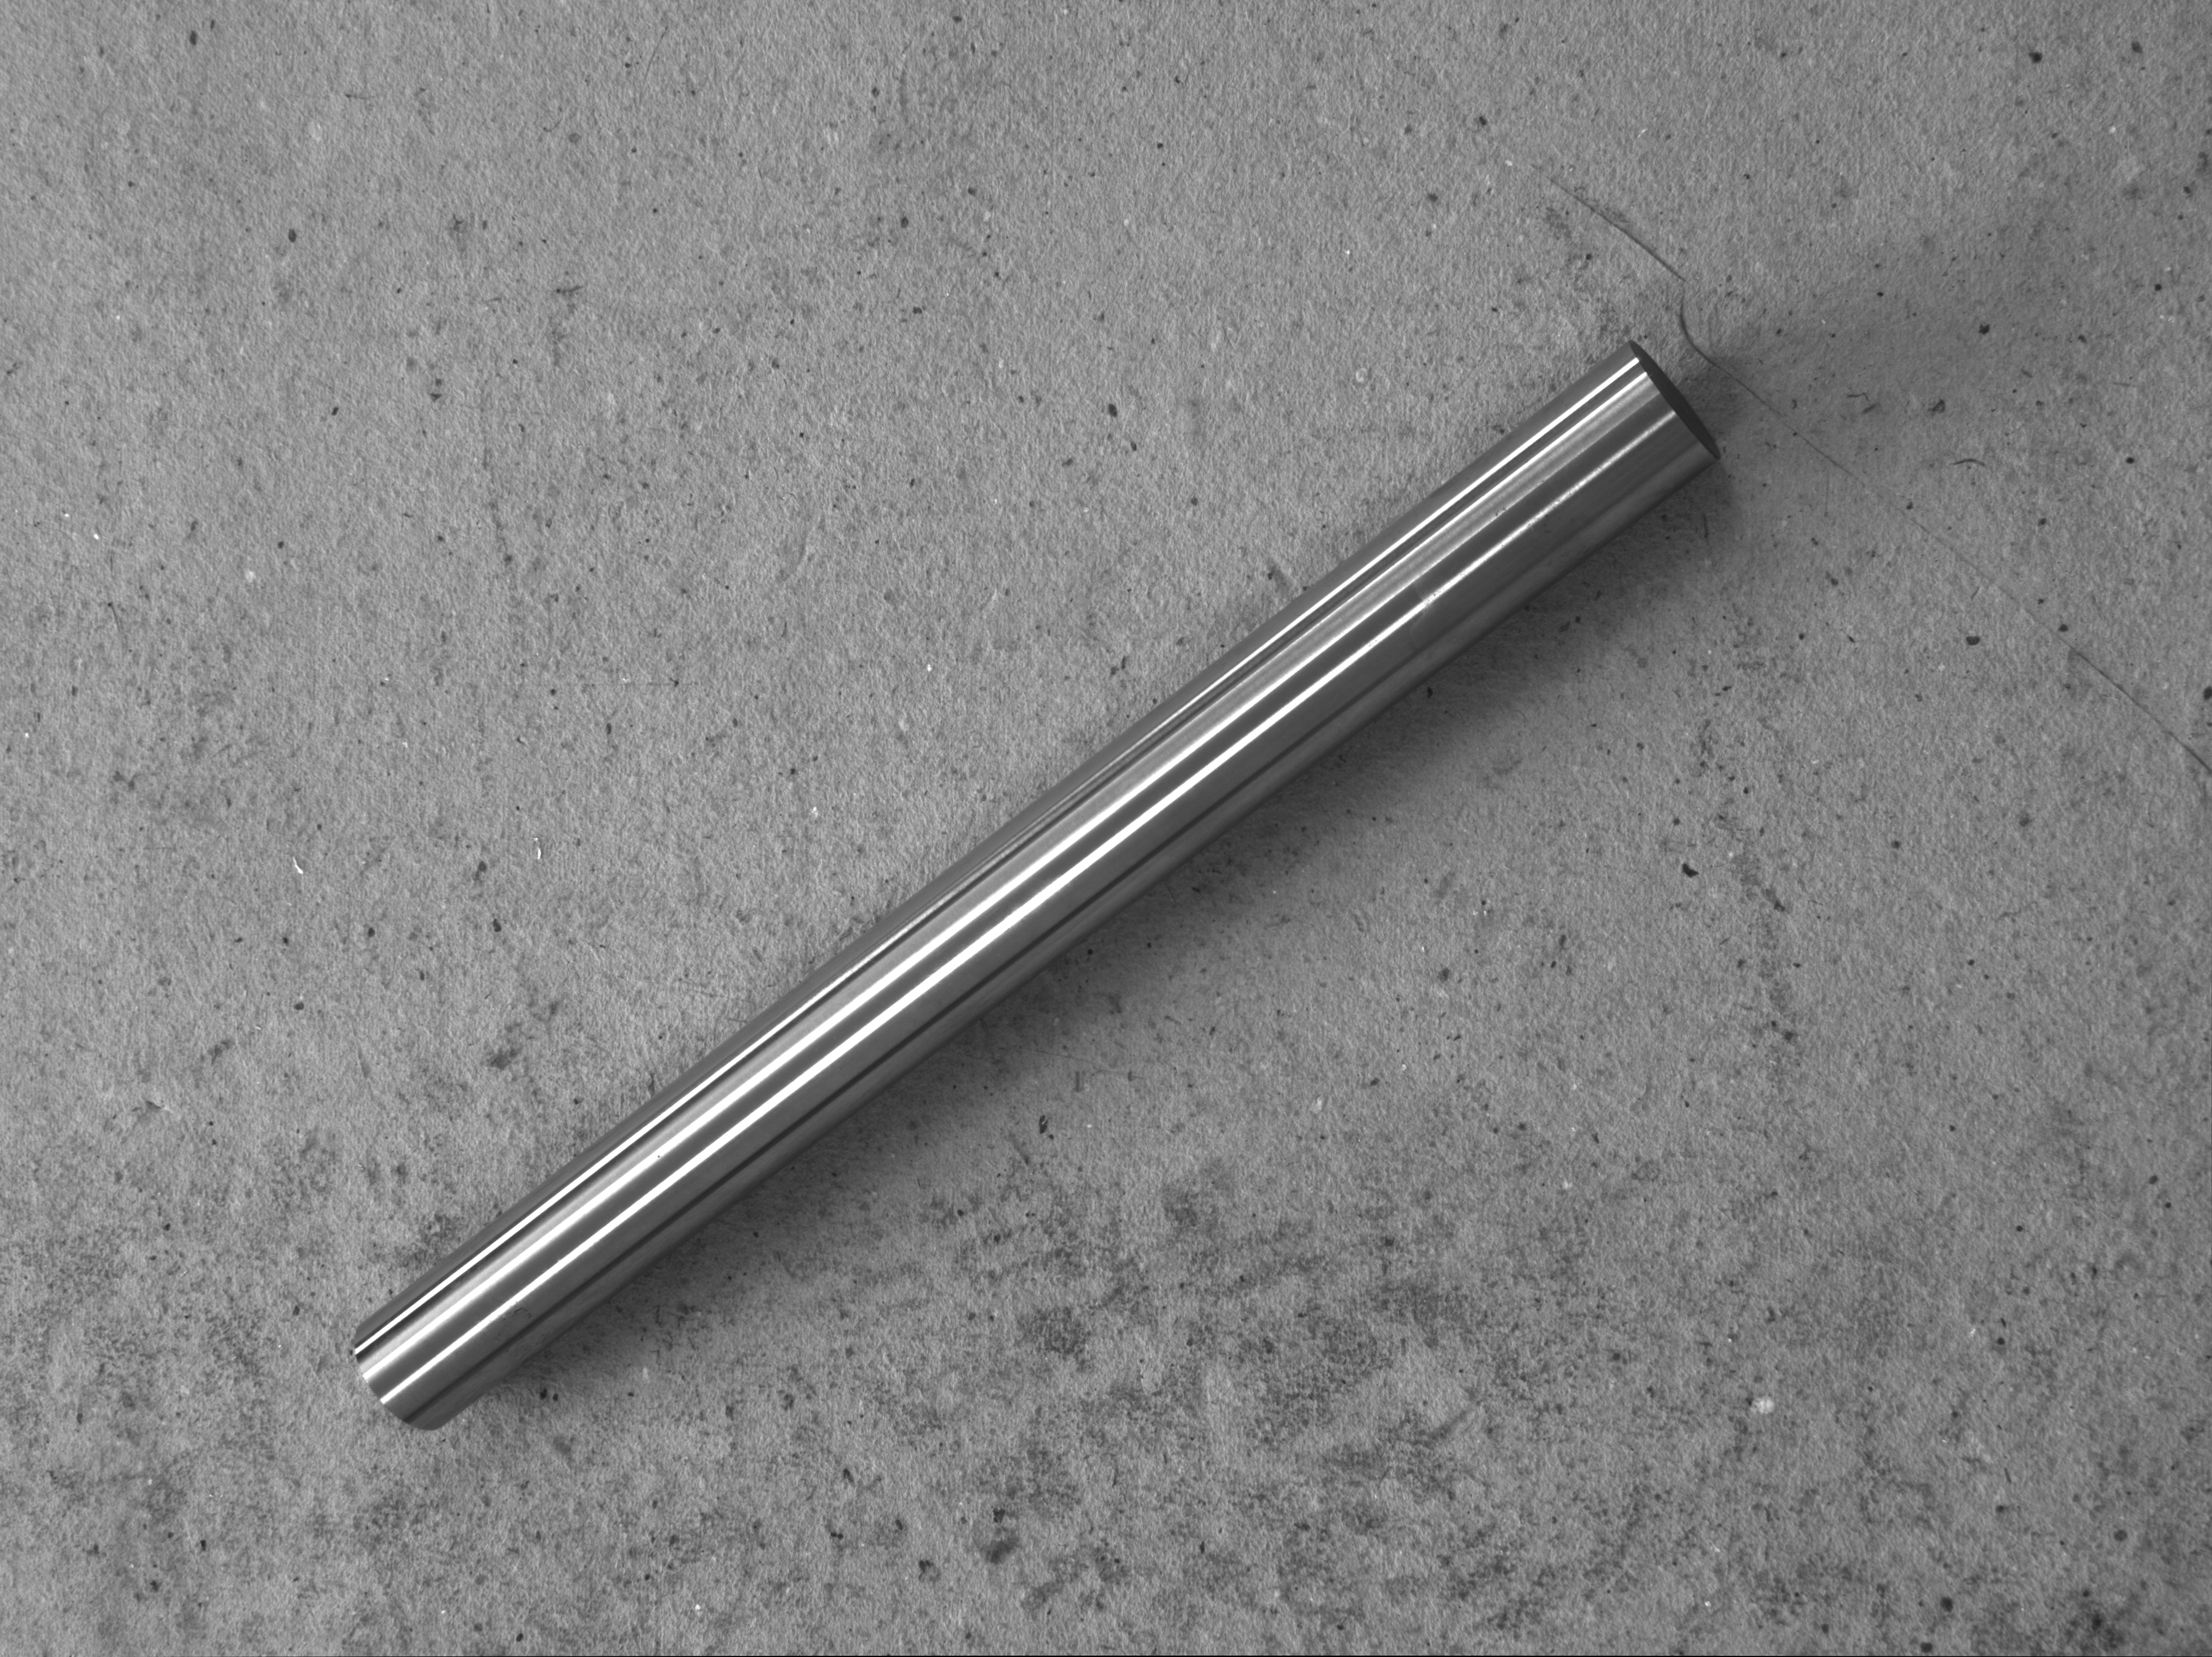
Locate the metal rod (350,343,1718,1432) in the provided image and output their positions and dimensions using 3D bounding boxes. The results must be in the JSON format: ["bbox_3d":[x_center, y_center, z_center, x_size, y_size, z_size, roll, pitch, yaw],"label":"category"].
[{"bbox_3d":[-0.020,0.016,0.655,0.300,0.025,0.025,-37,78,16],"label":"metal rod"}]
